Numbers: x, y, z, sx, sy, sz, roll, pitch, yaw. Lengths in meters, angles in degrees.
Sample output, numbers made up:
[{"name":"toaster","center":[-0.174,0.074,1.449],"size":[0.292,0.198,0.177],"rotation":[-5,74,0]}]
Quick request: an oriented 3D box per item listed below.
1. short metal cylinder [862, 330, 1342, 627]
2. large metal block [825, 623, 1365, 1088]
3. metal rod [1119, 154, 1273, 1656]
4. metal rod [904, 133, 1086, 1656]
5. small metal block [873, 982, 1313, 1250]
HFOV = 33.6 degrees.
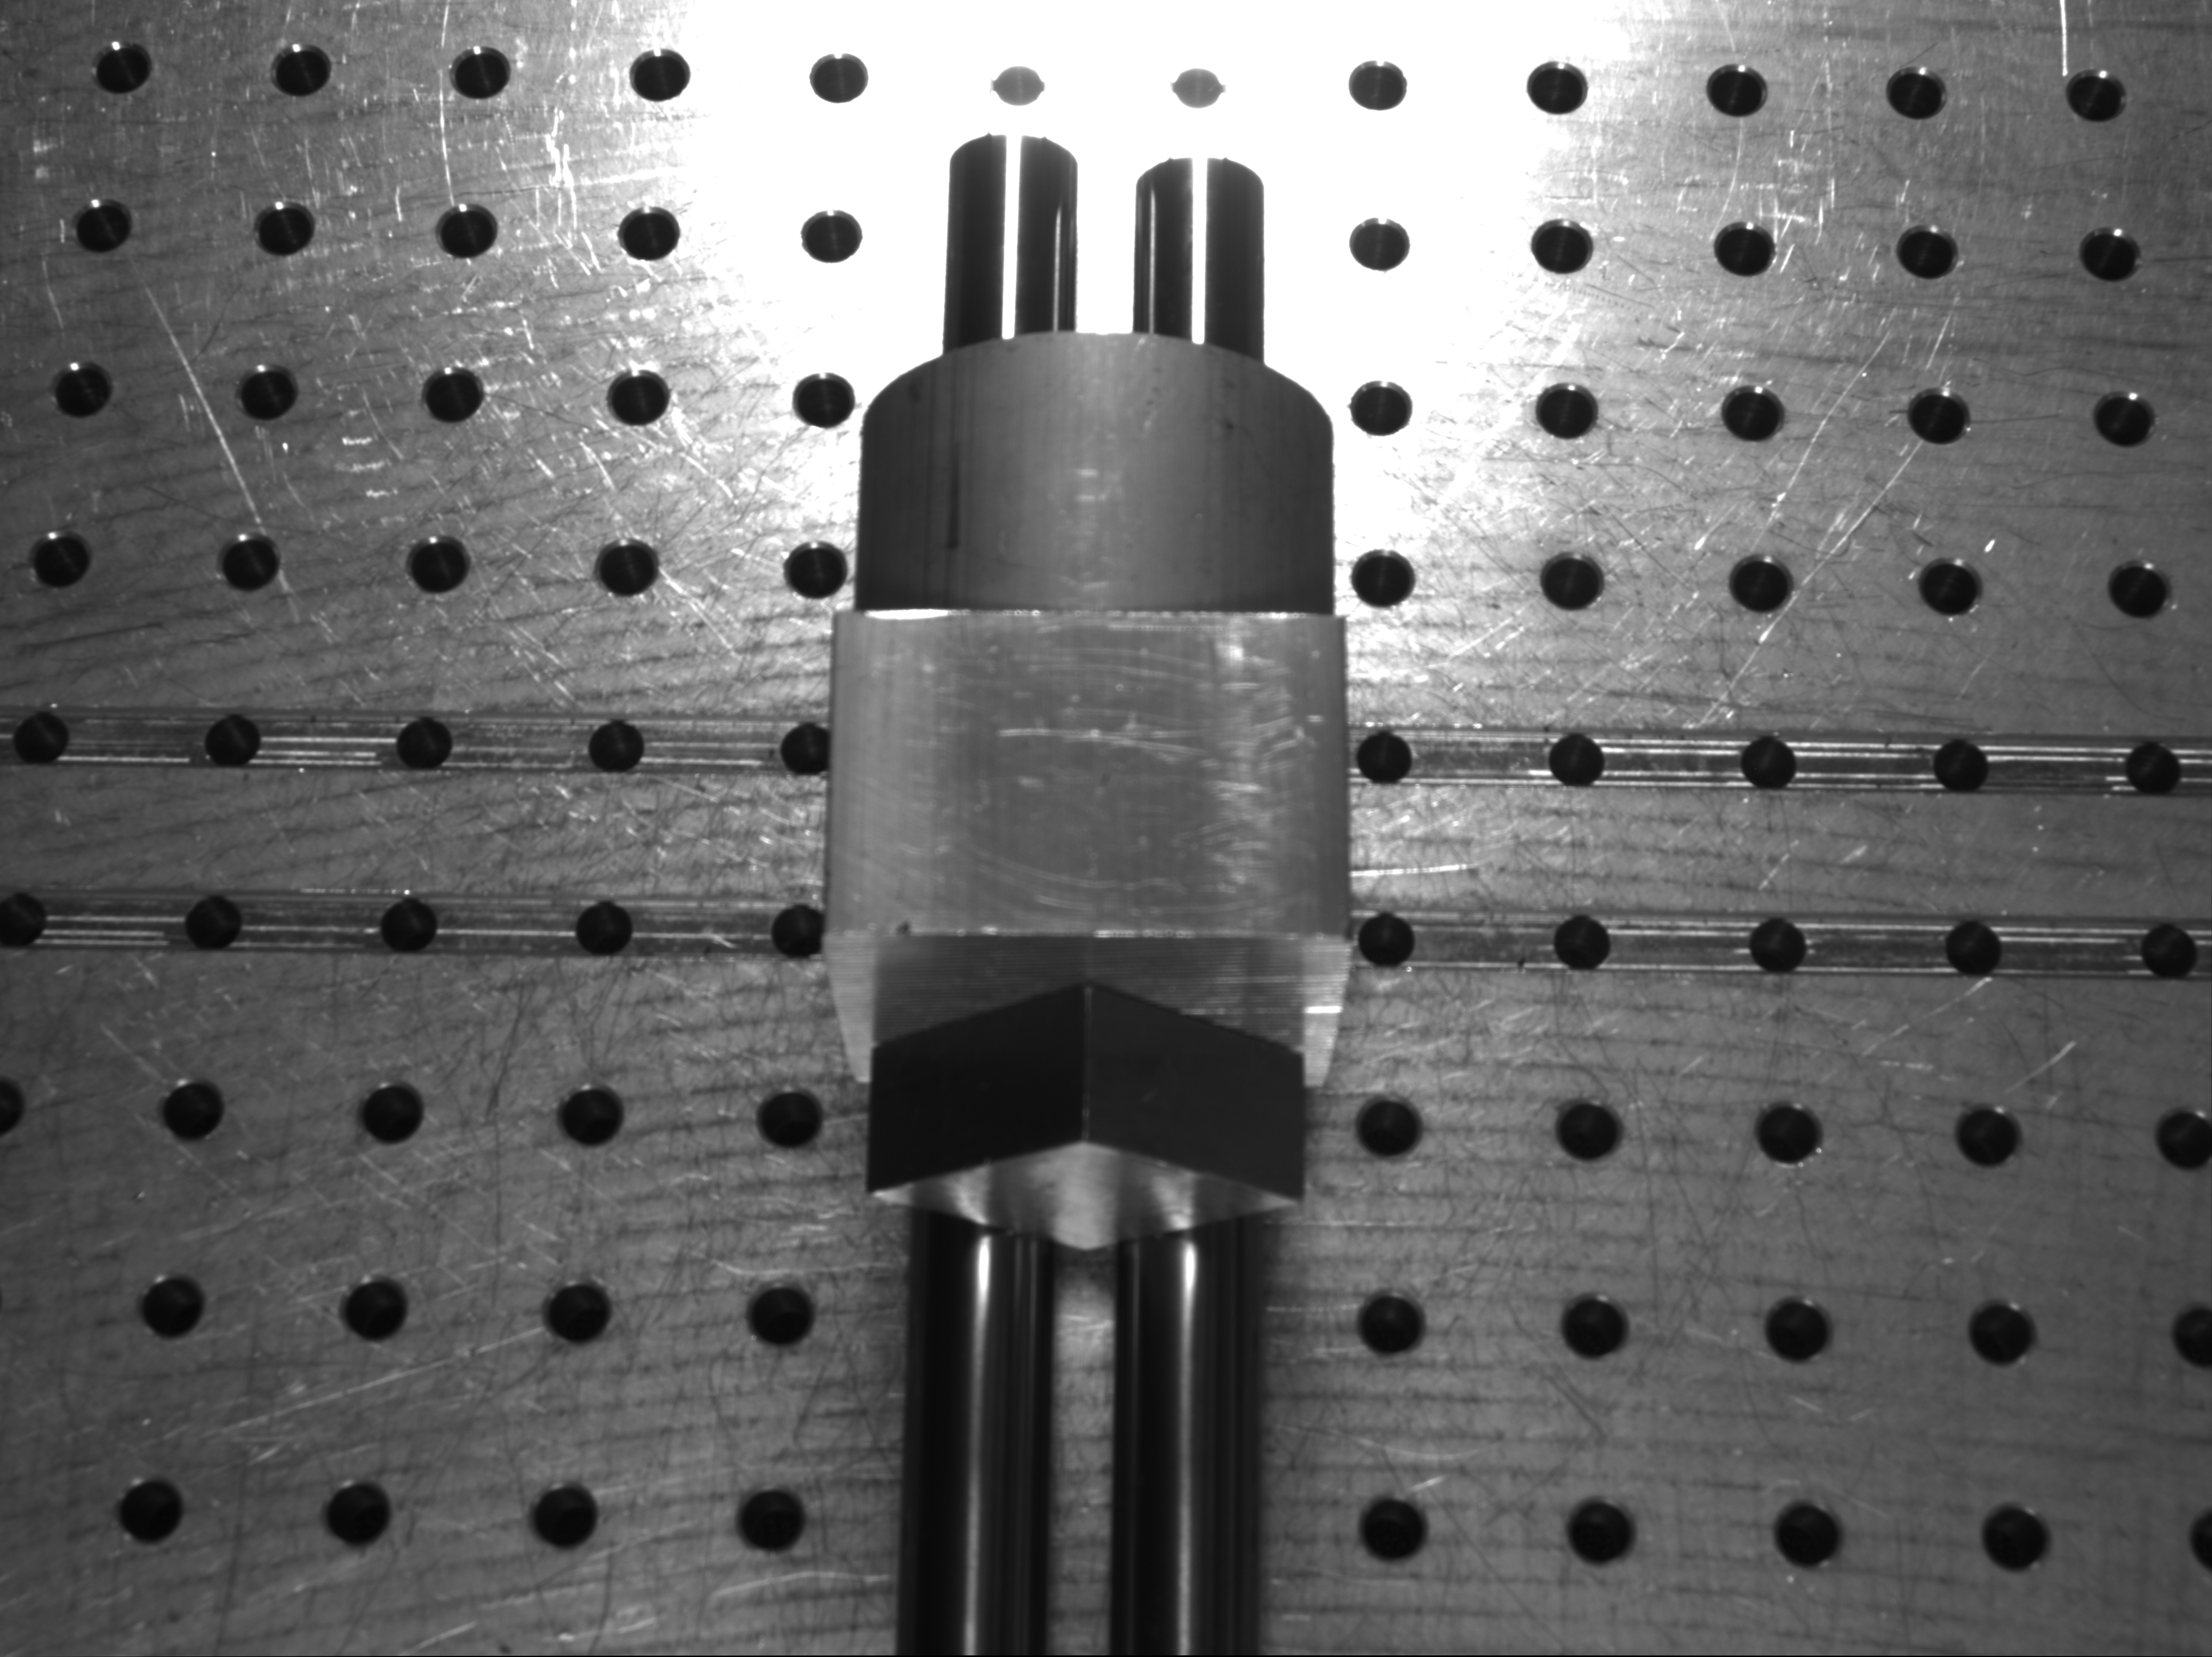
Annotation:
[{"name":"short metal cylinder","center":[0.000,-0.042,0.611],"size":[0.080,0.080,0.050],"rotation":[1,70,0]},{"name":"large metal block","center":[-0.001,0.006,0.589],"size":[0.080,0.080,0.050],"rotation":[0,70,0]},{"name":"metal rod","center":[0.017,0.020,0.641],"size":[0.025,0.025,0.300],"rotation":[1,70,0]},{"name":"metal rod","center":[-0.019,0.015,0.643],"size":[0.025,0.025,0.300],"rotation":[1,70,0]},{"name":"small metal block","center":[-0.002,0.048,0.592],"size":[0.050,0.050,0.025],"rotation":[20,63,-41]}]
